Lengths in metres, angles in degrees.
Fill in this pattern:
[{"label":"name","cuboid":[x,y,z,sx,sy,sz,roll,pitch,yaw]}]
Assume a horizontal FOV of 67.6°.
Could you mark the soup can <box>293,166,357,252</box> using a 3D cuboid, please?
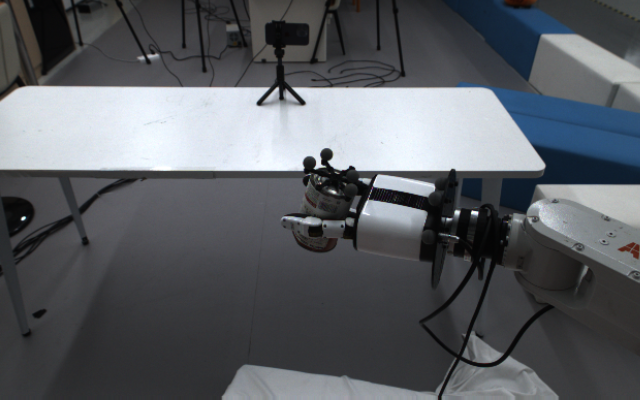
[{"label":"soup can","cuboid":[0.007,0.015,0.675,0.067,0.101,0.067,13,34,-9]}]
